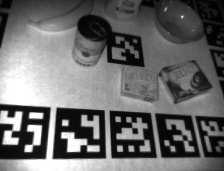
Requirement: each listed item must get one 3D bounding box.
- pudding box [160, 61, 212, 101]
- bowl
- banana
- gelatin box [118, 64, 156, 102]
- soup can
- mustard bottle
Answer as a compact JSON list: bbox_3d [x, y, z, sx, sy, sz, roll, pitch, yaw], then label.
[{"bbox_3d":[0.193,-0.020,0.566,0.115,0.038,0.089,-17,76,-25],"label":"pudding box"},{"bbox_3d":[0.198,-0.189,0.648,0.163,0.055,0.161,8,61,-13],"label":"bowl"},{"bbox_3d":[-0.109,-0.199,0.556,0.074,0.039,0.198,38,58,15],"label":"banana"},{"bbox_3d":[0.061,-0.007,0.520,0.090,0.030,0.073,13,64,-12],"label":"gelatin box"},{"bbox_3d":[-0.056,-0.113,0.482,0.068,0.102,0.067,9,60,-15],"label":"soup can"},{"bbox_3d":[0.055,-0.259,0.540,0.097,0.191,0.058,6,59,-15],"label":"mustard bottle"}]
